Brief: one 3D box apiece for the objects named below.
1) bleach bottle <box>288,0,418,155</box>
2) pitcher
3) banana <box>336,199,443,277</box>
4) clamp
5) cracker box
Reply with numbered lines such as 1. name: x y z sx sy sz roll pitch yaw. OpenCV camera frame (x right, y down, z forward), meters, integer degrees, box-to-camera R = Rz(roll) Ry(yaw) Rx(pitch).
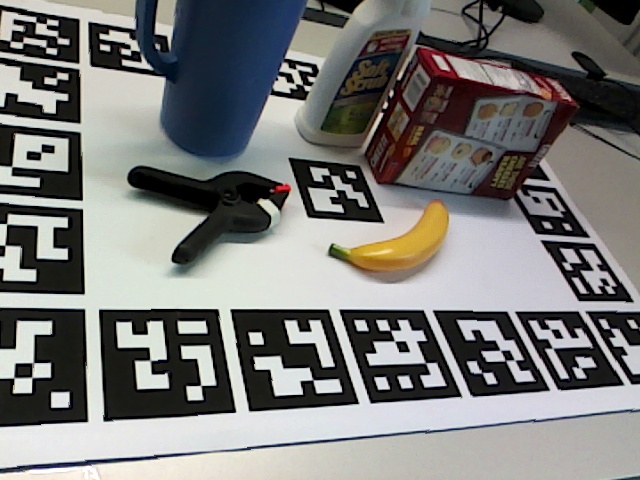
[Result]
1. bleach bottle: 0.046 -0.223 0.766 0.102 0.251 0.068 2 45 -25
2. pitcher: -0.105 -0.213 0.649 0.188 0.243 0.134 -13 53 -40
3. banana: 0.101 -0.001 0.733 0.074 0.039 0.196 40 42 16
4. clamp: -0.101 -0.031 0.650 0.164 0.036 0.122 -11 51 -38
5. cracker box: 0.196 -0.144 0.802 0.212 0.164 0.072 2 43 -23
